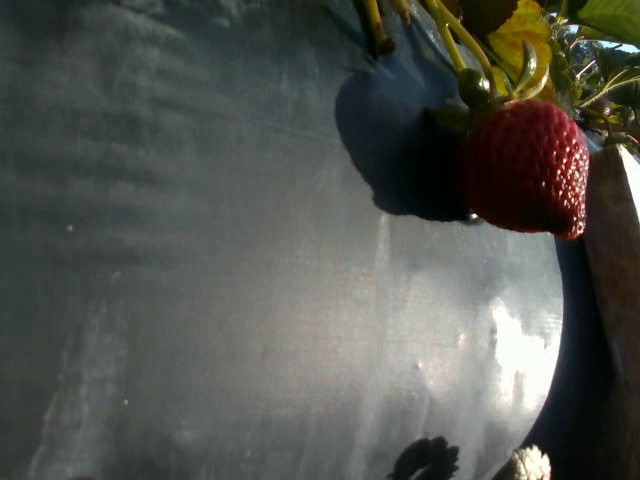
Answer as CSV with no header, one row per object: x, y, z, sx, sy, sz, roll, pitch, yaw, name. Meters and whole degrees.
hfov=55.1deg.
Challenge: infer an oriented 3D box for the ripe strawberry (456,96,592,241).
0.055,-0.015,0.154,0.036,0.044,0.040,-36,-17,35,ripe strawberry
